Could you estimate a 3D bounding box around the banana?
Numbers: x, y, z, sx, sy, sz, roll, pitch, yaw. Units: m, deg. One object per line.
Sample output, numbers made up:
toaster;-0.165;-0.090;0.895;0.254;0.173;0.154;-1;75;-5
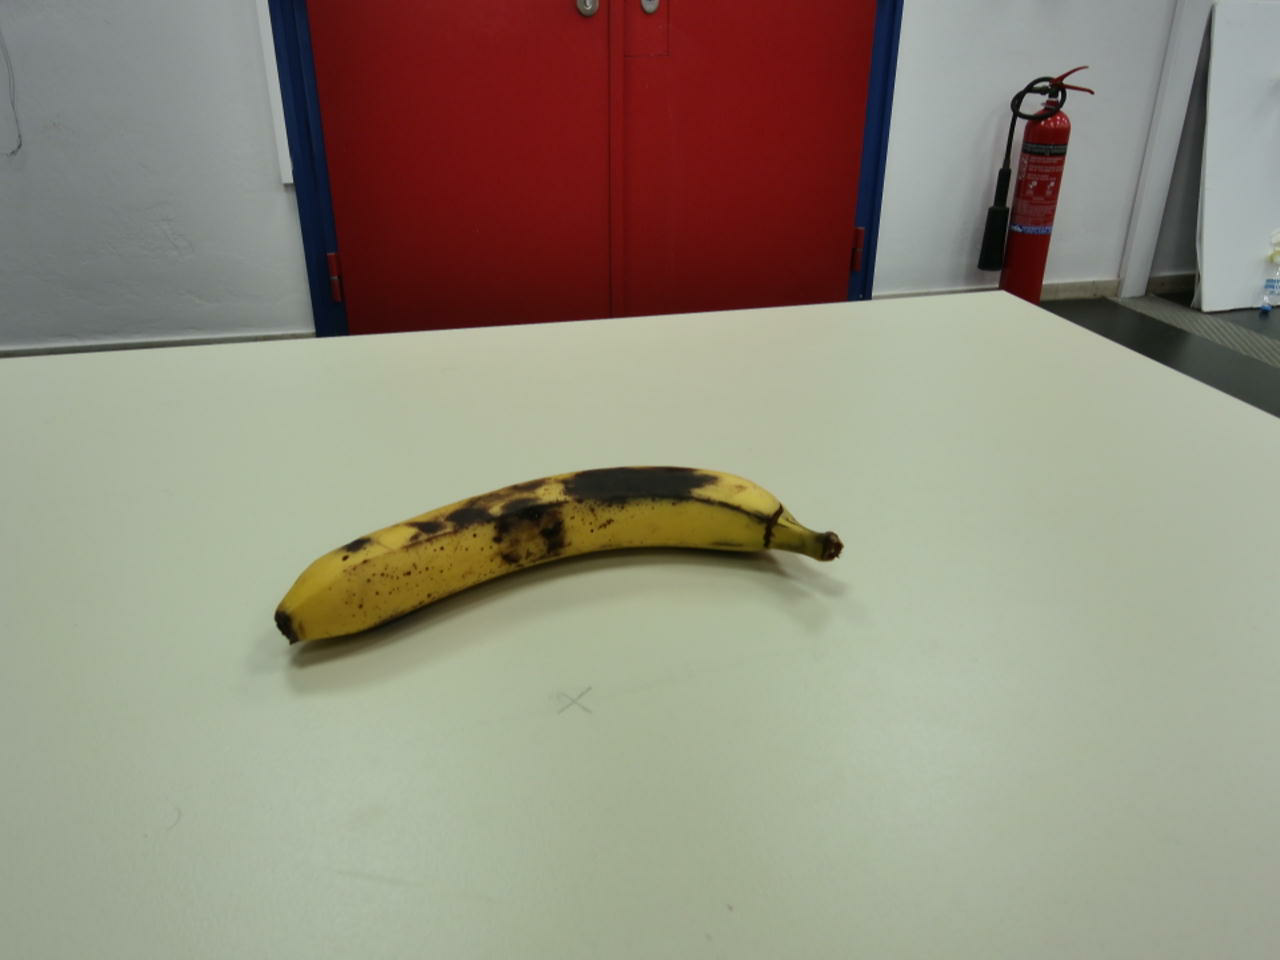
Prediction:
banana;-0.034;0.025;0.418;0.222;0.037;0.084;-6;25;-12
